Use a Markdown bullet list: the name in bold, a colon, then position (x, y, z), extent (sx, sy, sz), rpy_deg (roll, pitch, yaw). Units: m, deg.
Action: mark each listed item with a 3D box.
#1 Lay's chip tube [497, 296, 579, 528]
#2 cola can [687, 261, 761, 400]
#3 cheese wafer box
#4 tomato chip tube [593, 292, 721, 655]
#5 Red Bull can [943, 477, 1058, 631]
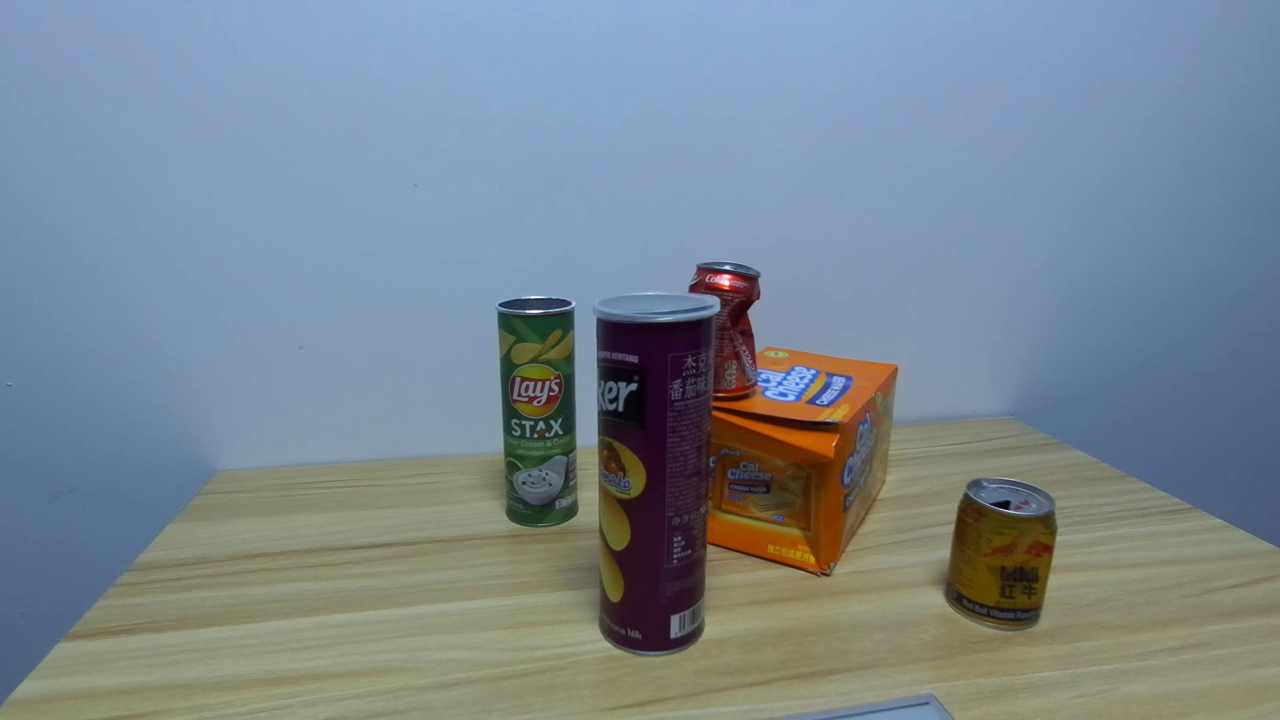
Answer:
- **Lay's chip tube**: position (-0.091, 0.046, 0.647), extent (0.071, 0.202, 0.071), rpy_deg (0, 16, 0)
- **cola can**: position (0.071, -0.026, 0.604), extent (0.069, 0.112, 0.065), rpy_deg (-11, 18, -37)
- **cheese wafer box**: position (0.143, 0.078, 0.666), extent (0.149, 0.137, 0.228), rpy_deg (10, 18, 28)
- **tomato chip tube**: position (0.011, 0.077, 0.476), extent (0.078, 0.234, 0.078), rpy_deg (0, 16, 0)
- **Red Bull can**: position (0.266, 0.142, 0.522), extent (0.069, 0.092, 0.069), rpy_deg (2, 14, 0)
